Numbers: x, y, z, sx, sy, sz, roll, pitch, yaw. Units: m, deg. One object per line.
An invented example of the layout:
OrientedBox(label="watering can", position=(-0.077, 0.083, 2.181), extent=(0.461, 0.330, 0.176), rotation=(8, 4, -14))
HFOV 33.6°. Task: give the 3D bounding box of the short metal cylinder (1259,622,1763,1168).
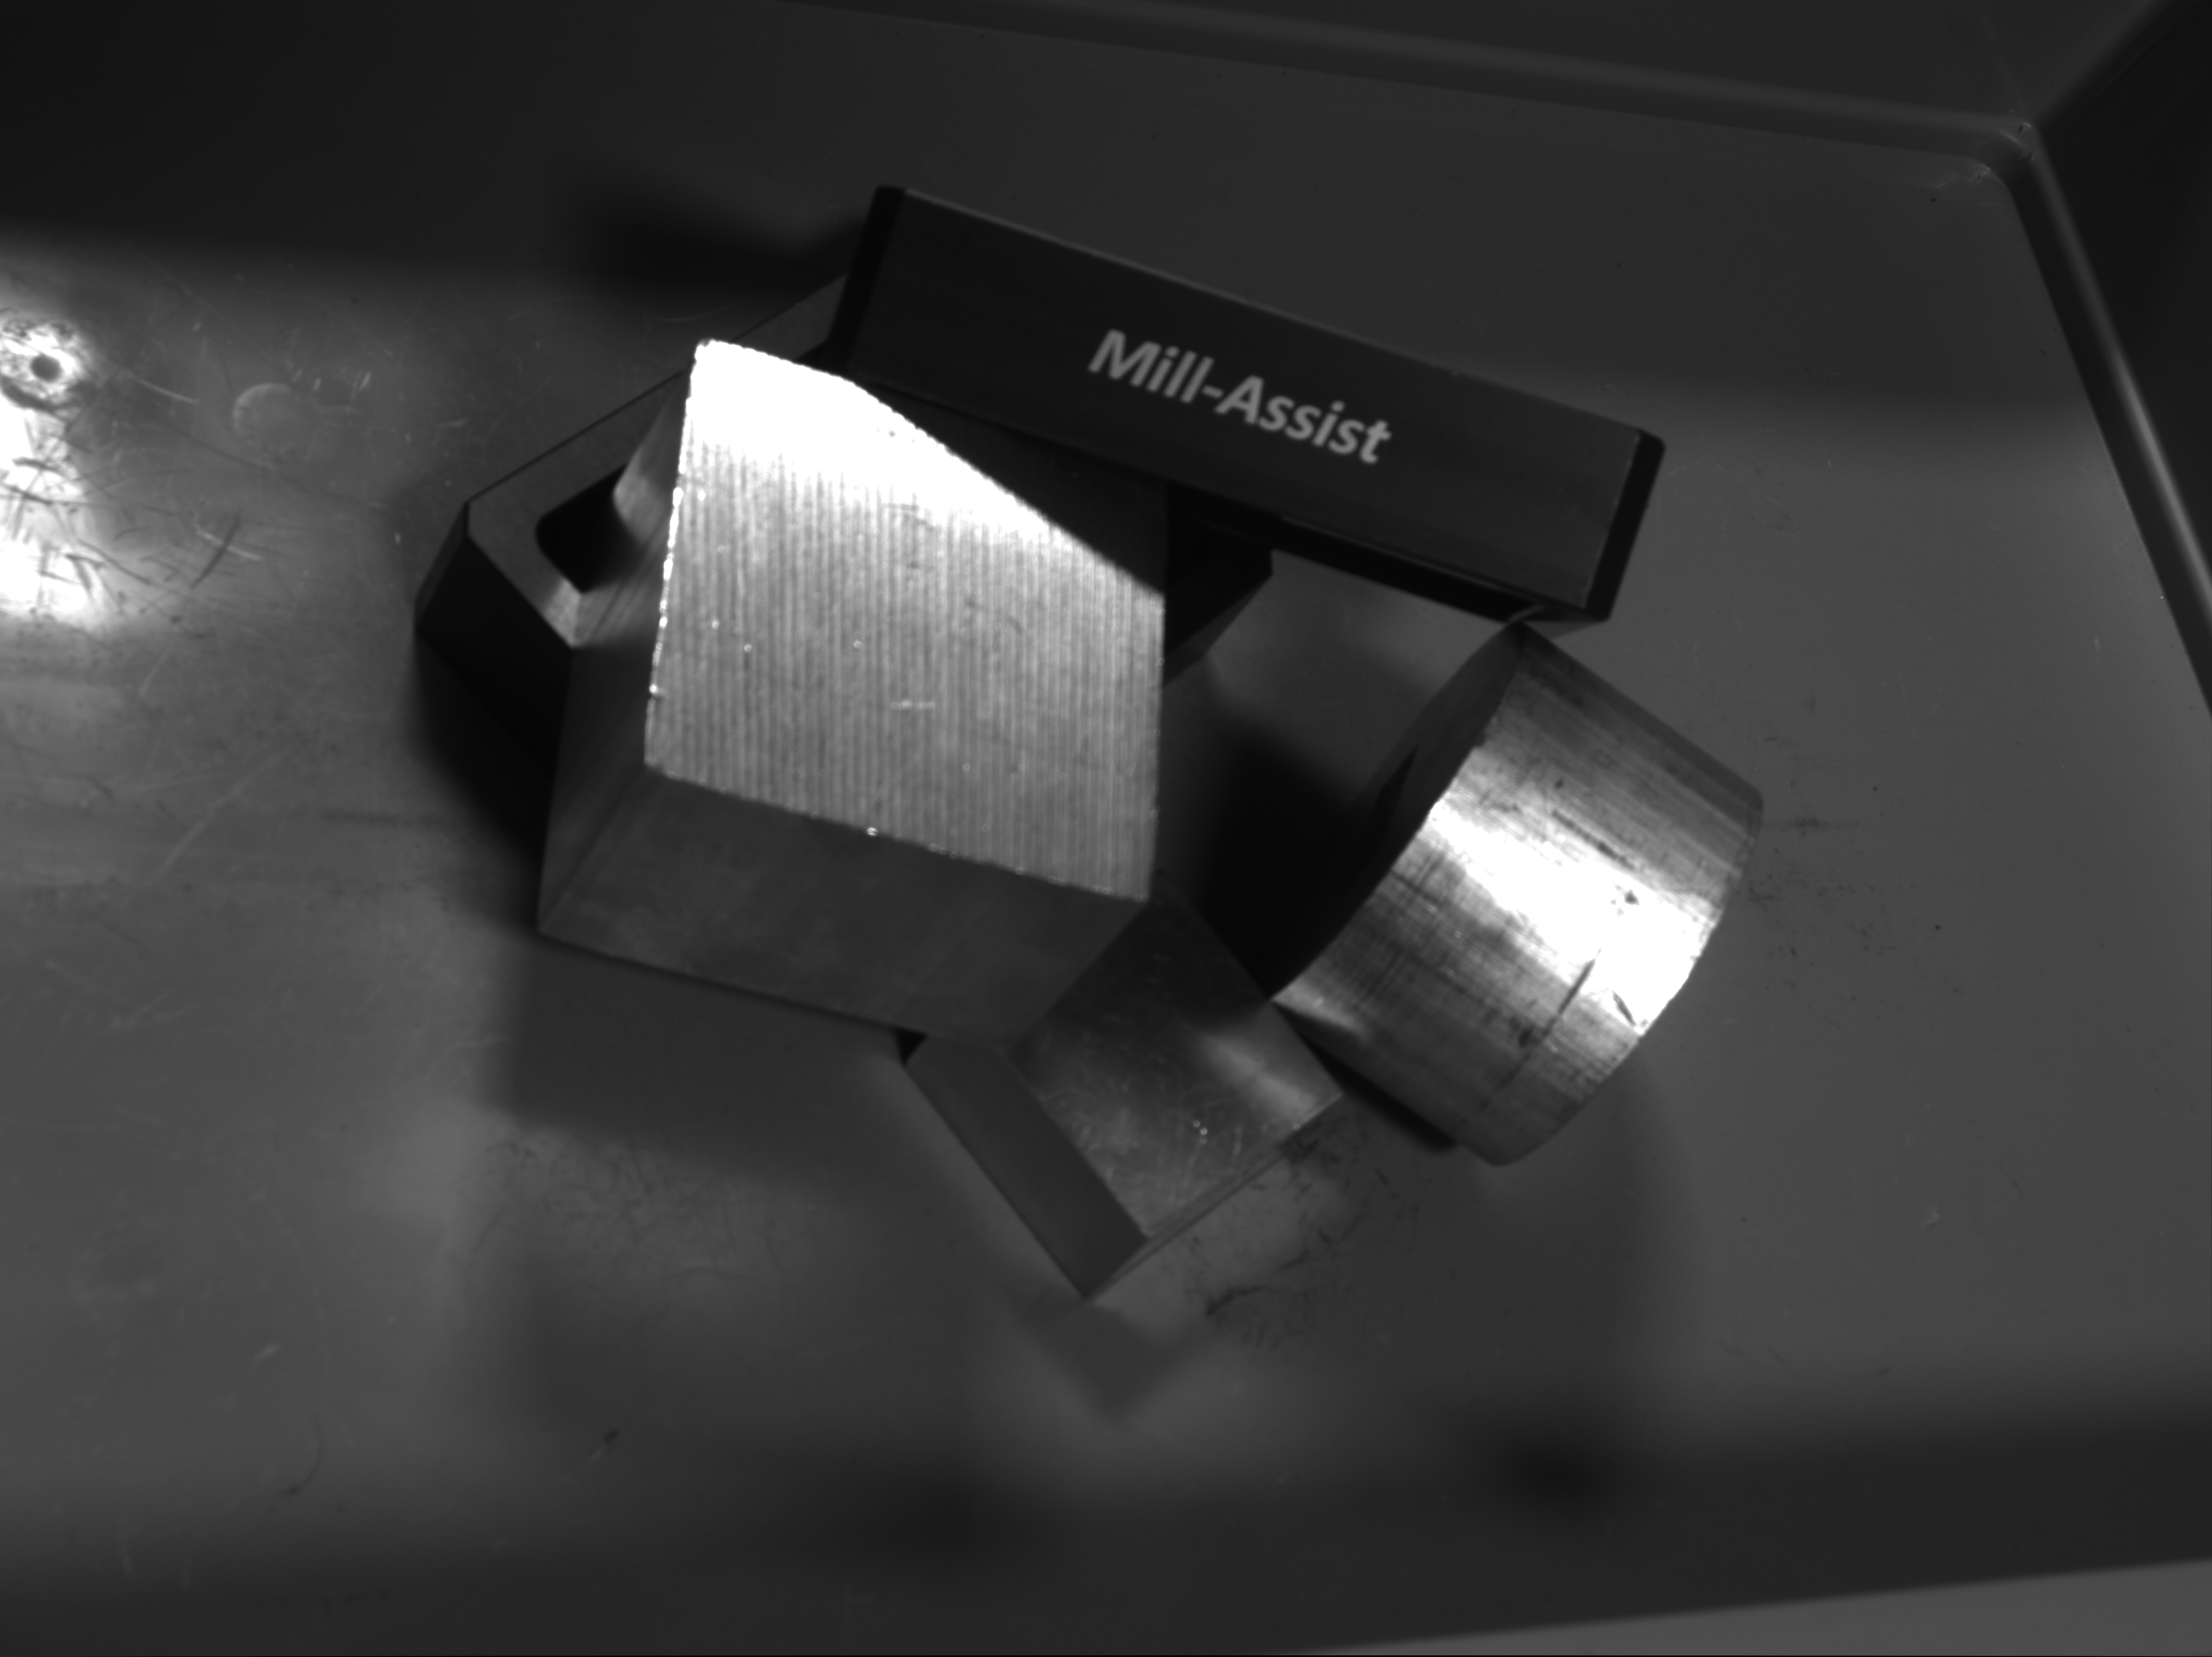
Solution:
OrientedBox(label="short metal cylinder", position=(0.069, 0.011, 0.634), extent=(0.050, 0.080, 0.080), rotation=(34, 51, -6))

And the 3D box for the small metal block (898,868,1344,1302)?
OrientedBox(label="small metal block", position=(0.003, 0.043, 0.614), extent=(0.050, 0.025, 0.050), rotation=(-33, 80, -38))

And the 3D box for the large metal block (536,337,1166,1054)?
OrientedBox(label="large metal block", position=(-0.038, -0.020, 0.573), extent=(0.080, 0.050, 0.080), rotation=(15, 55, -19))

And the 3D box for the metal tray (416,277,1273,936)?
OrientedBox(label="metal tray", position=(-0.043, -0.043, 0.638), extent=(0.090, 0.030, 0.130), rotation=(47, 51, 5))

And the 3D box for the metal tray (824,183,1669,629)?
OrientedBox(label="metal tray", position=(0.023, -0.067, 0.612), extent=(0.130, 0.090, 0.030), rotation=(18, 92, 0))
